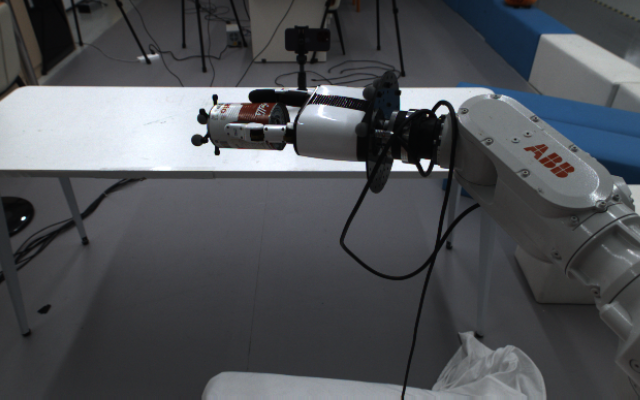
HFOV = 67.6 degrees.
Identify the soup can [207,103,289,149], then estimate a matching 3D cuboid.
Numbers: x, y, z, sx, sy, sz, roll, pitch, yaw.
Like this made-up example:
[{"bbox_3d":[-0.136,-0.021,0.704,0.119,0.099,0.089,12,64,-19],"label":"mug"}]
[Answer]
[{"bbox_3d":[-0.101,-0.106,0.701,0.101,0.067,0.067,4,34,19],"label":"soup can"}]
